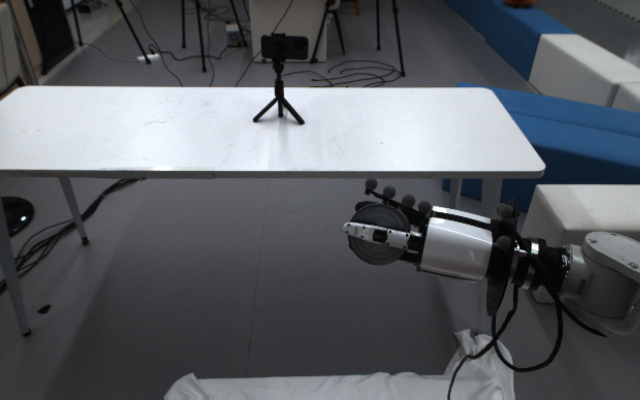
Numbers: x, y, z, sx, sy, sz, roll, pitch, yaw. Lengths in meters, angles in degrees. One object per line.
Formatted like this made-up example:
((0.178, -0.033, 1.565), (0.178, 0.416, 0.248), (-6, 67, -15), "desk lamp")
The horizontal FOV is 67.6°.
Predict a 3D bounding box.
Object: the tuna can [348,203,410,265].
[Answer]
((0.086, 0.044, 0.674), (0.085, 0.085, 0.034), (13, 2, 16), "tuna can")
